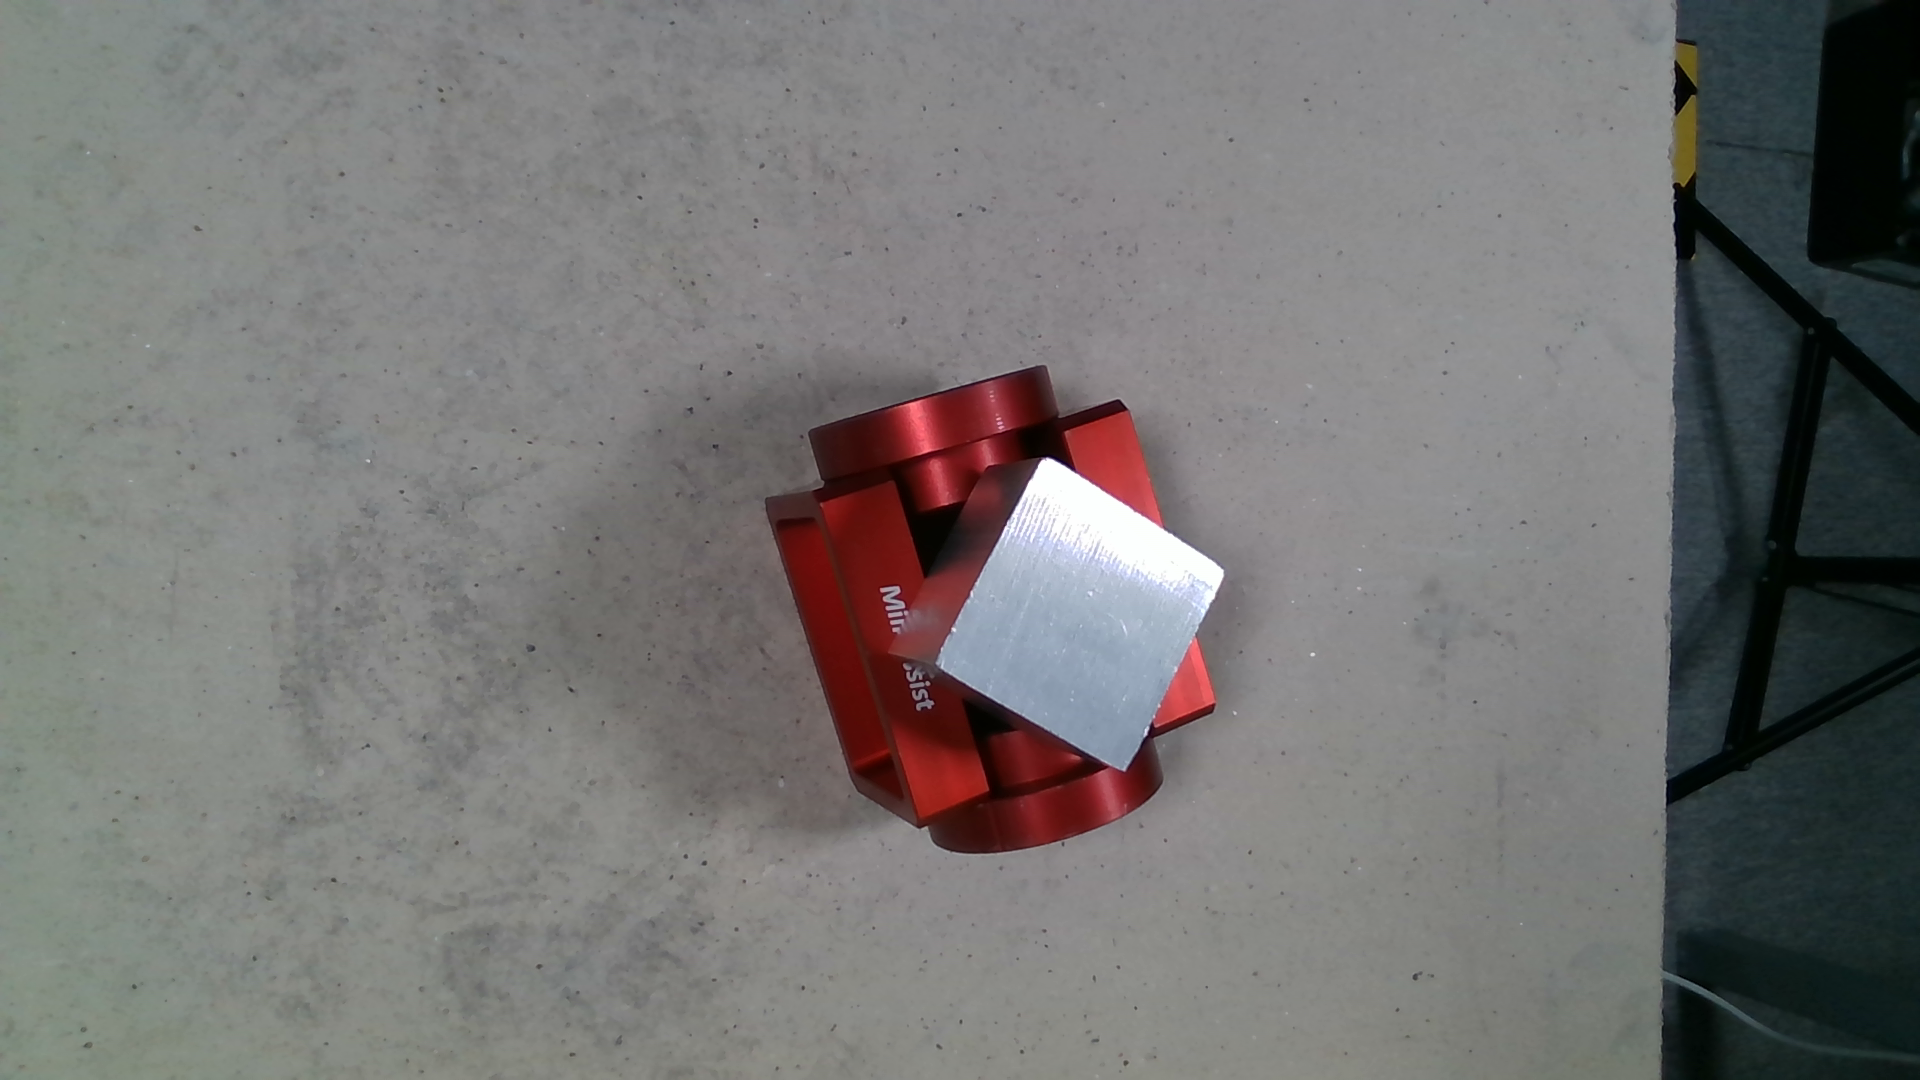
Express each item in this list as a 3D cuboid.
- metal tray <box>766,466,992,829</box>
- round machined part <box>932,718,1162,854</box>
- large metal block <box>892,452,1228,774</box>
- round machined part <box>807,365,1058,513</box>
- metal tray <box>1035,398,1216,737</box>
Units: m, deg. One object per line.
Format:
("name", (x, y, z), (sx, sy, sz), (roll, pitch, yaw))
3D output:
("metal tray", (-0.034, 0.039, 0.537), (0.030, 0.090, 0.130), (-19, 97, -19))
("round machined part", (0.030, 0.088, 0.558), (0.098, 0.098, 0.042), (-17, 96, -20))
("large metal block", (0.034, 0.025, 0.487), (0.080, 0.050, 0.080), (31, 80, -18))
("round machined part", (-0.008, -0.037, 0.544), (0.098, 0.098, 0.042), (-17, 96, -20))
("metal tray", (0.055, 0.011, 0.573), (0.030, 0.090, 0.130), (-20, 97, -19))
